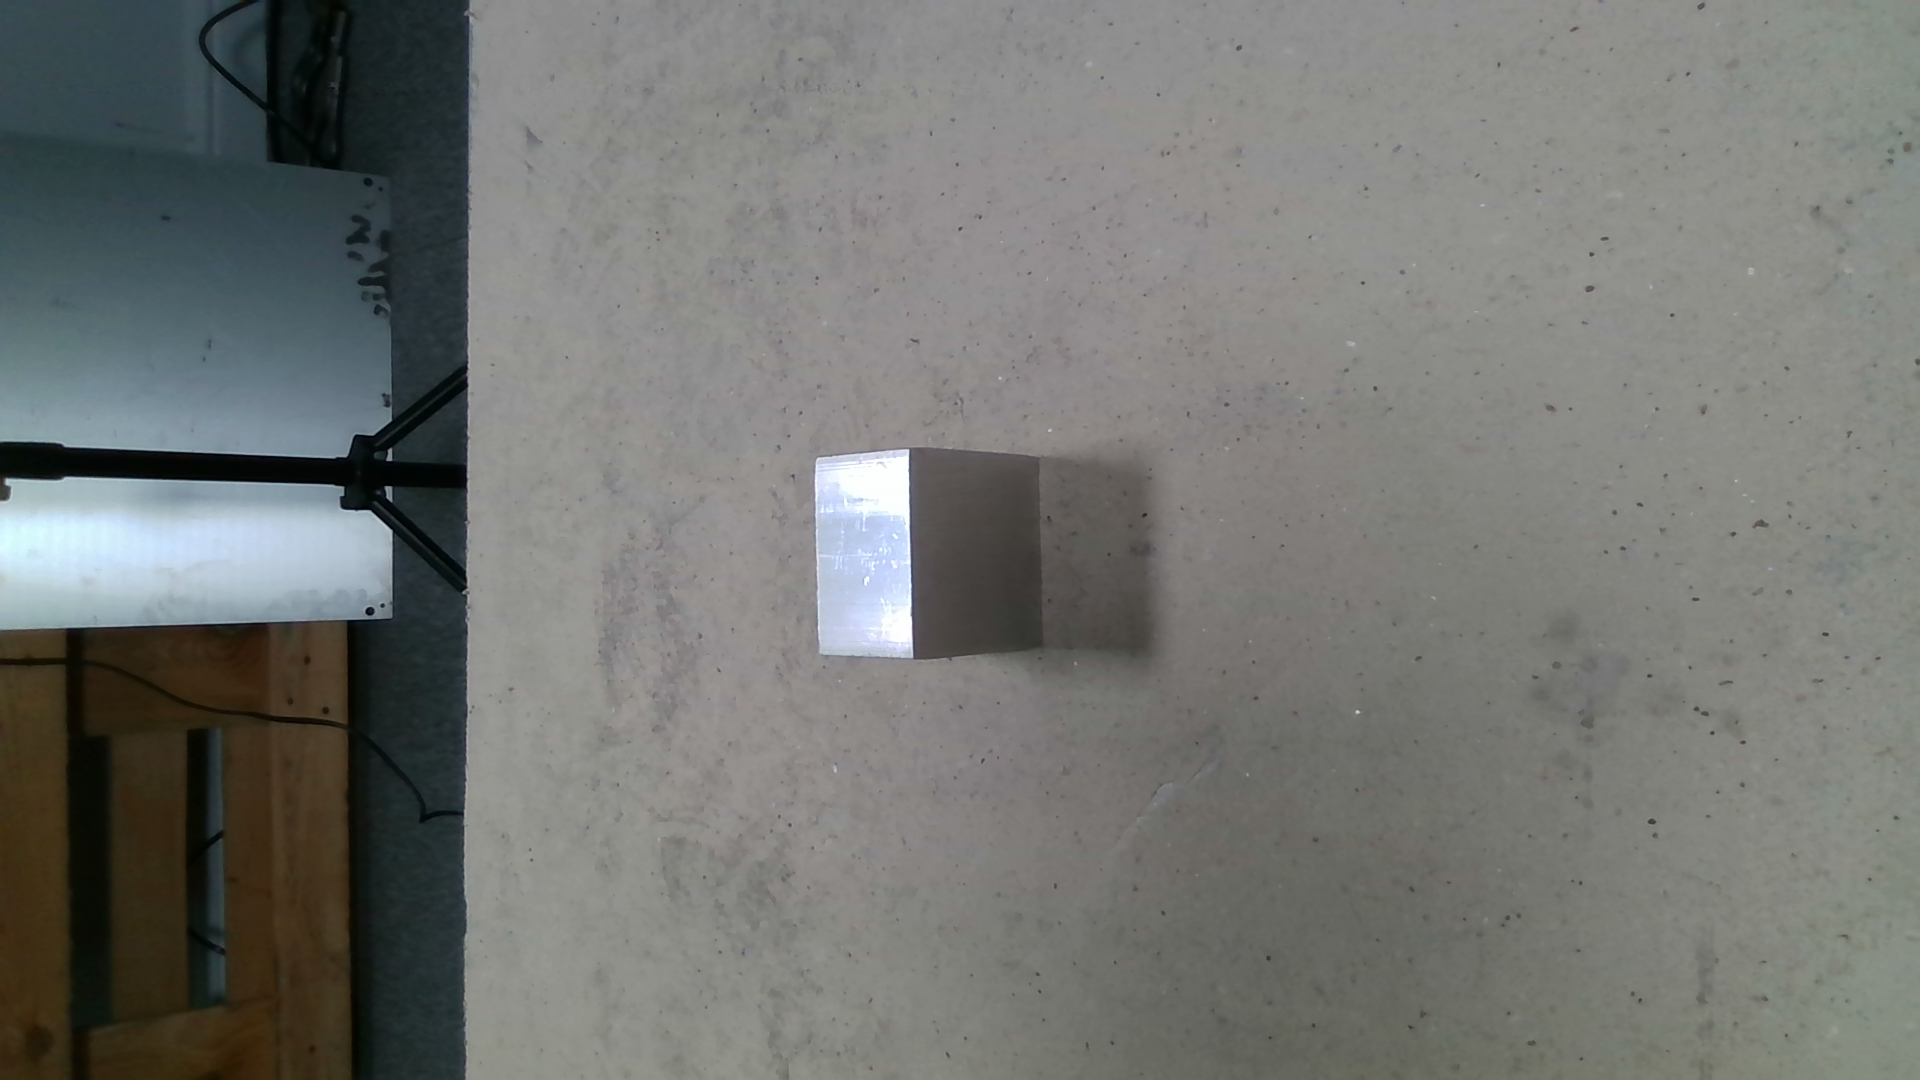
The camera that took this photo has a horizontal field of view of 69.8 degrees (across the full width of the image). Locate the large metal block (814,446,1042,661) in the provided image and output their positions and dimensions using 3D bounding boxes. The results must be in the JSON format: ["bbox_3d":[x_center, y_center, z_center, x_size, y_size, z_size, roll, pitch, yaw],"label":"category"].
[{"bbox_3d":[-0.012,0.006,0.556,0.050,0.080,0.080,-2,89,40],"label":"large metal block"}]
